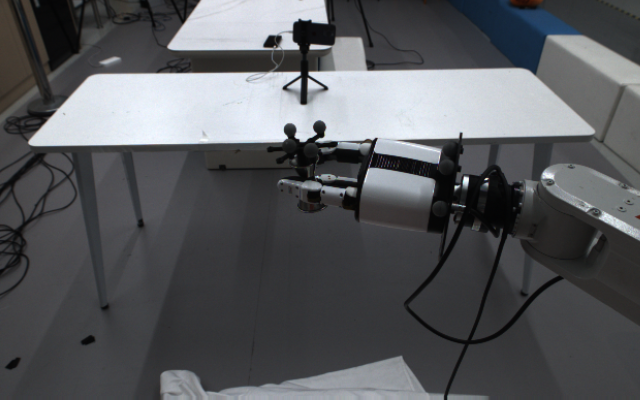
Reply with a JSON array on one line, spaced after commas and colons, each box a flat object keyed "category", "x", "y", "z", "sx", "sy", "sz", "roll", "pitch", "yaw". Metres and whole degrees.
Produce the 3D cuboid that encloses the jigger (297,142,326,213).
[{"category": "jigger", "x": -0.013, "y": -0.025, "z": 0.635, "sx": 0.043, "sy": 0.071, "sz": 0.043, "roll": -9, "pitch": 31, "yaw": 5}]
